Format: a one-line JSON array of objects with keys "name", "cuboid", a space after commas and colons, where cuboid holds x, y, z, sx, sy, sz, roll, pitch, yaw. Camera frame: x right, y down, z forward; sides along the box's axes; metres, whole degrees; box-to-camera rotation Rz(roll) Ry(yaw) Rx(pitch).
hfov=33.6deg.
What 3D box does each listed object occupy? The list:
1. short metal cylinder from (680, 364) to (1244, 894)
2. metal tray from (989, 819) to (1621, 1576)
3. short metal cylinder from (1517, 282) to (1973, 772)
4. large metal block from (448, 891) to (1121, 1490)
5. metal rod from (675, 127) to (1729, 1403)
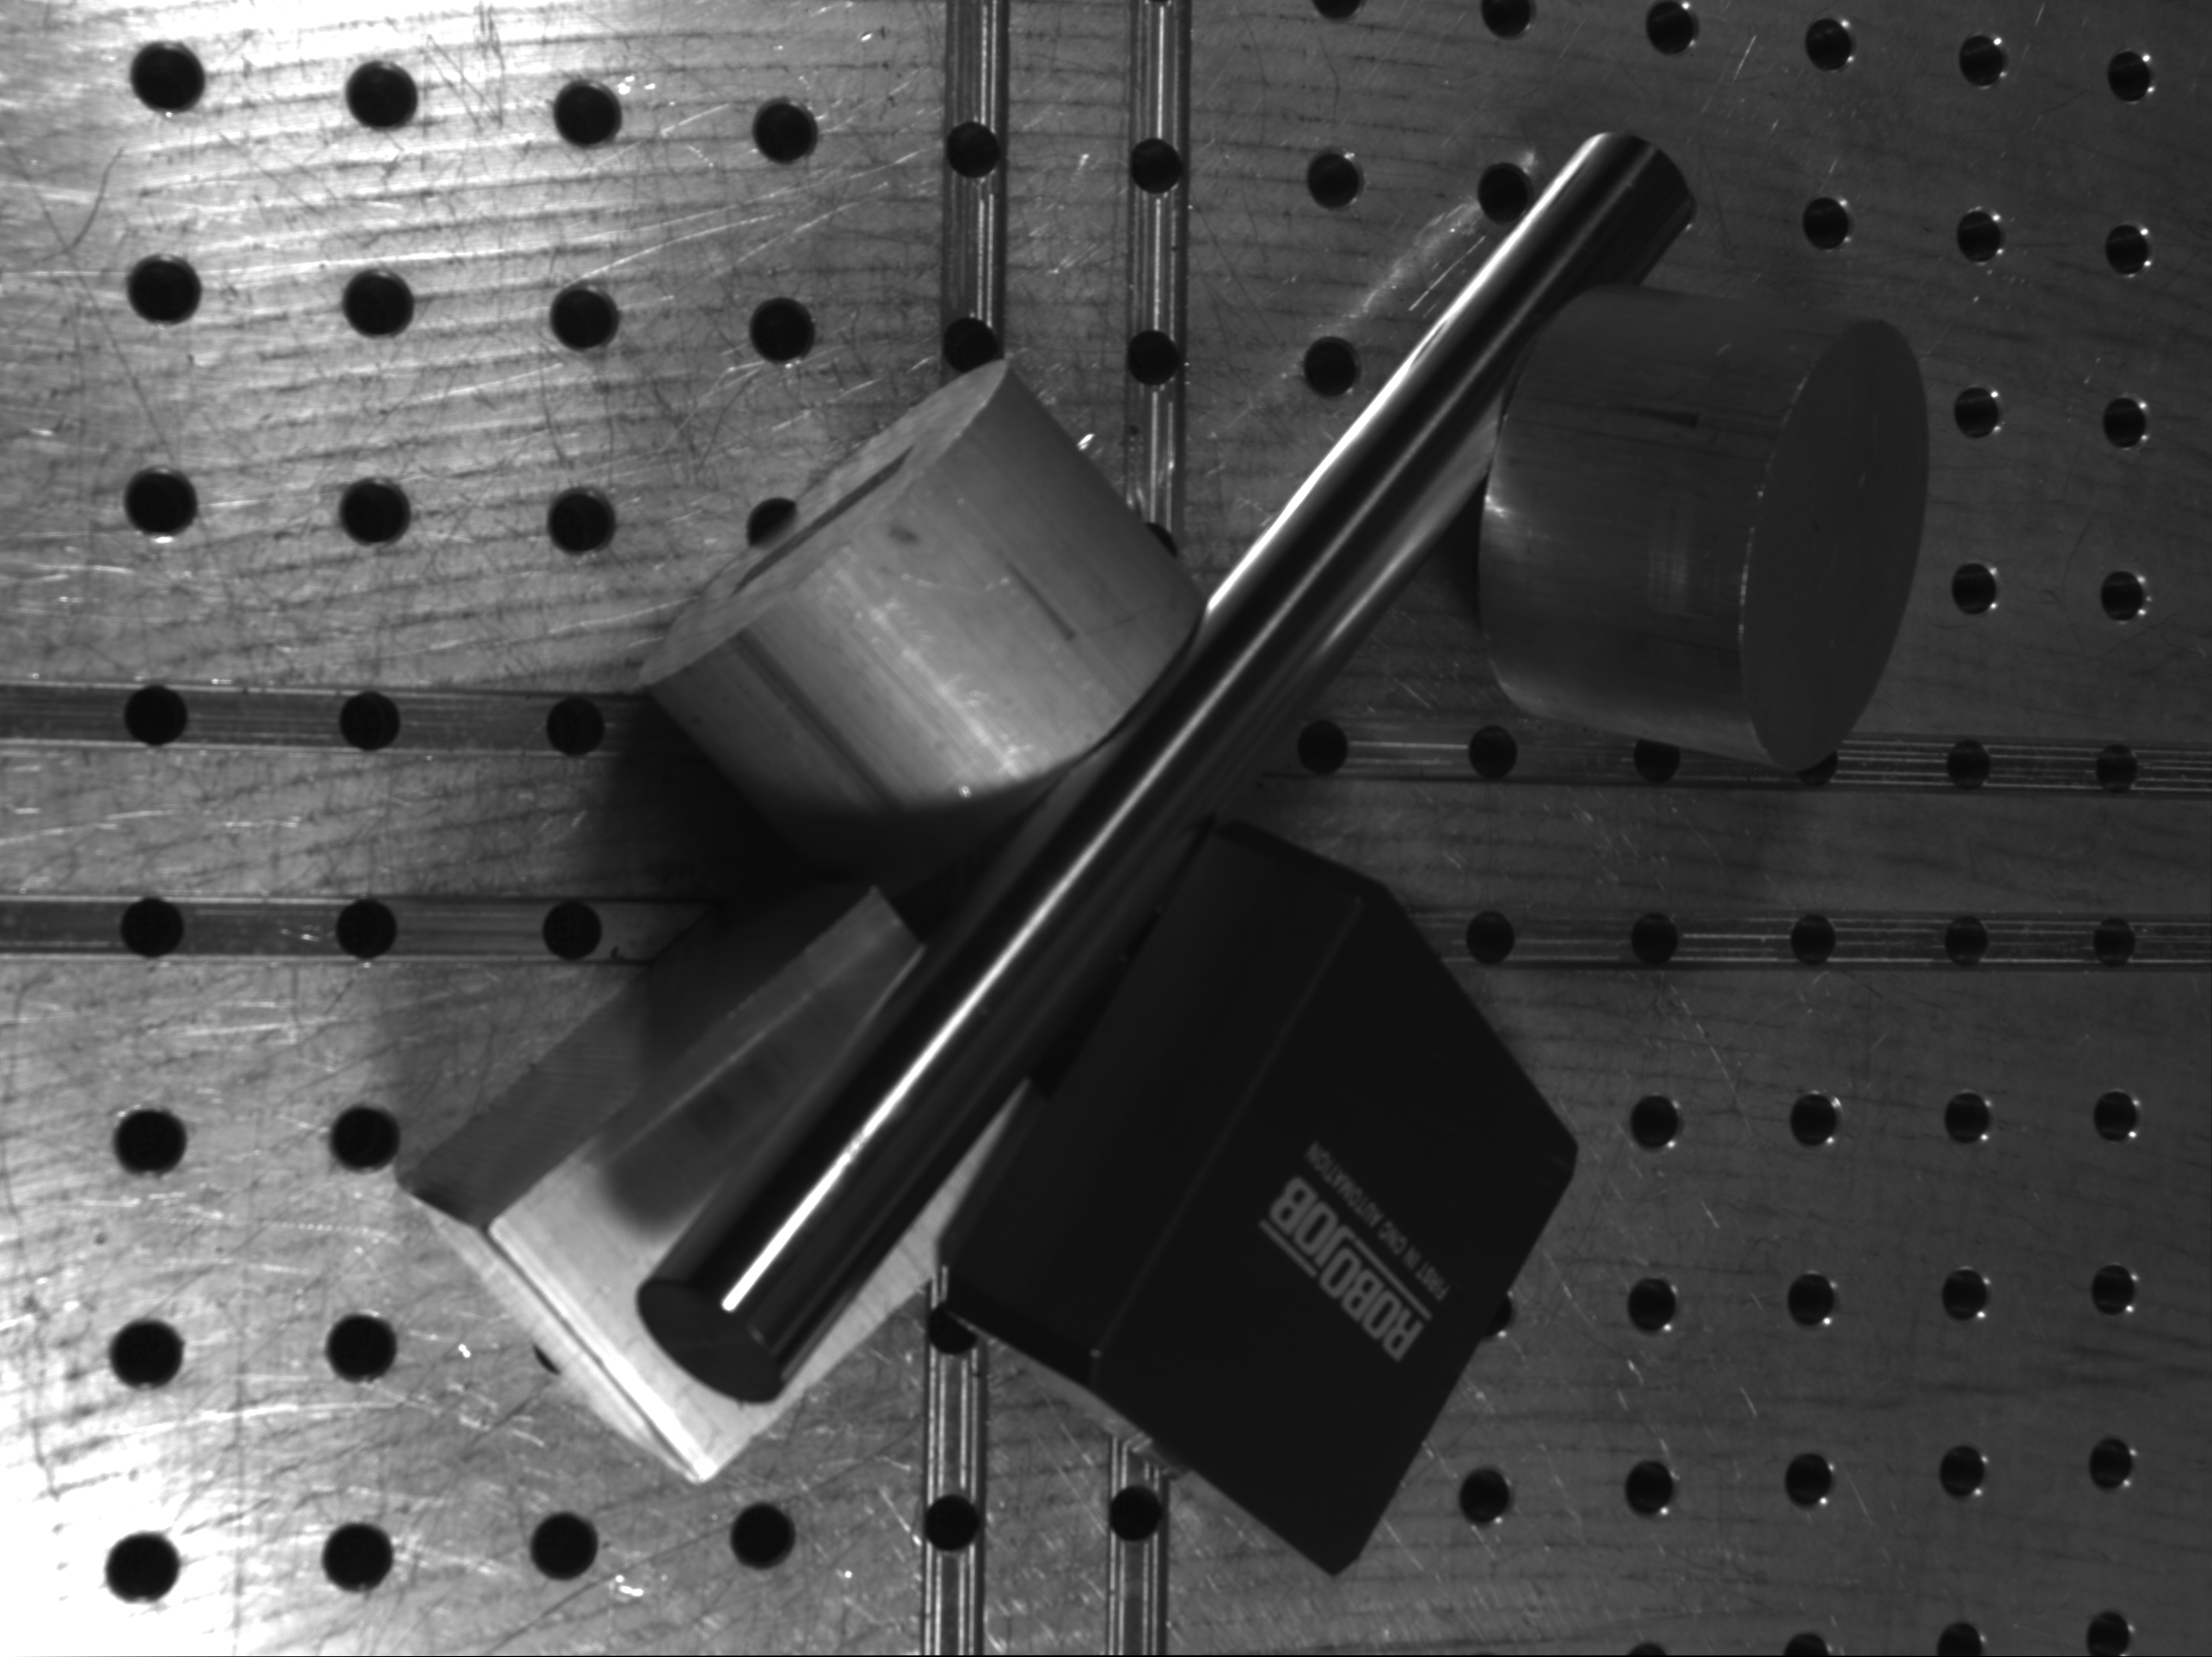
[{"name": "short metal cylinder", "cuboid": [-0.024, -0.032, 0.608, 0.080, 0.080, 0.050, -45, 104, -14]}, {"name": "metal tray", "cuboid": [0.038, 0.066, 0.615, 0.090, 0.030, 0.130, -59, 149, -11]}, {"name": "short metal cylinder", "cuboid": [0.115, -0.054, 0.653, 0.080, 0.050, 0.080, -28, 125, -50]}, {"name": "large metal block", "cuboid": [-0.054, 0.055, 0.597, 0.080, 0.080, 0.050, -41, 103, -15]}, {"name": "metal rod", "cuboid": [0.027, -0.024, 0.599, 0.025, 0.025, 0.300, 48, 54, -13]}]
